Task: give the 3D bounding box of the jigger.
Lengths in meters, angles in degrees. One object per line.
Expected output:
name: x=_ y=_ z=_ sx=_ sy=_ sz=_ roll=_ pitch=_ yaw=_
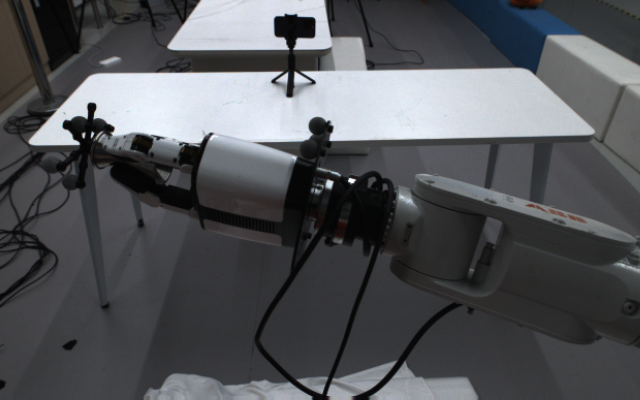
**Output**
jigger: x=-0.184 y=-0.047 z=0.489 sx=0.071 sy=0.043 sz=0.043 roll=13 pitch=36 yaw=4
